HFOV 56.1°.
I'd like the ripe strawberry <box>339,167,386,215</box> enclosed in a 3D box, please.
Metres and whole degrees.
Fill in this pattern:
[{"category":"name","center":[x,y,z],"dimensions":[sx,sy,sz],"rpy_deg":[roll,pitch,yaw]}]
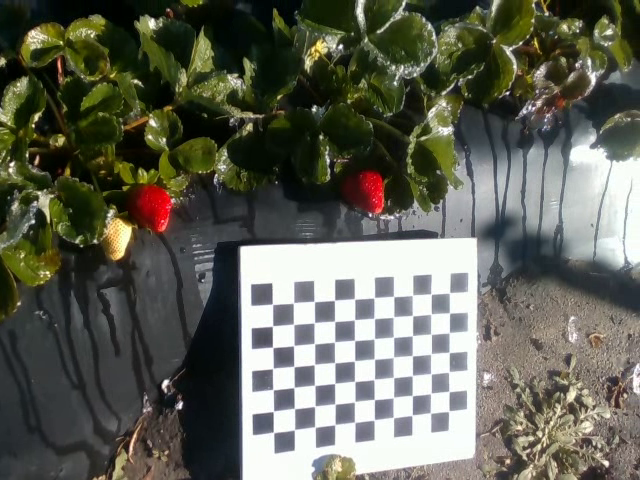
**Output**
[{"category":"ripe strawberry","center":[0.054,-0.051,0.658],"dimensions":[0.048,0.061,0.044],"rpy_deg":[-10,-25,-16]}]

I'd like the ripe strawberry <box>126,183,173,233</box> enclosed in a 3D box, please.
[{"category":"ripe strawberry","center":[-0.165,-0.025,0.599],"dimensions":[0.042,0.061,0.046],"rpy_deg":[-18,-33,-15]}]
